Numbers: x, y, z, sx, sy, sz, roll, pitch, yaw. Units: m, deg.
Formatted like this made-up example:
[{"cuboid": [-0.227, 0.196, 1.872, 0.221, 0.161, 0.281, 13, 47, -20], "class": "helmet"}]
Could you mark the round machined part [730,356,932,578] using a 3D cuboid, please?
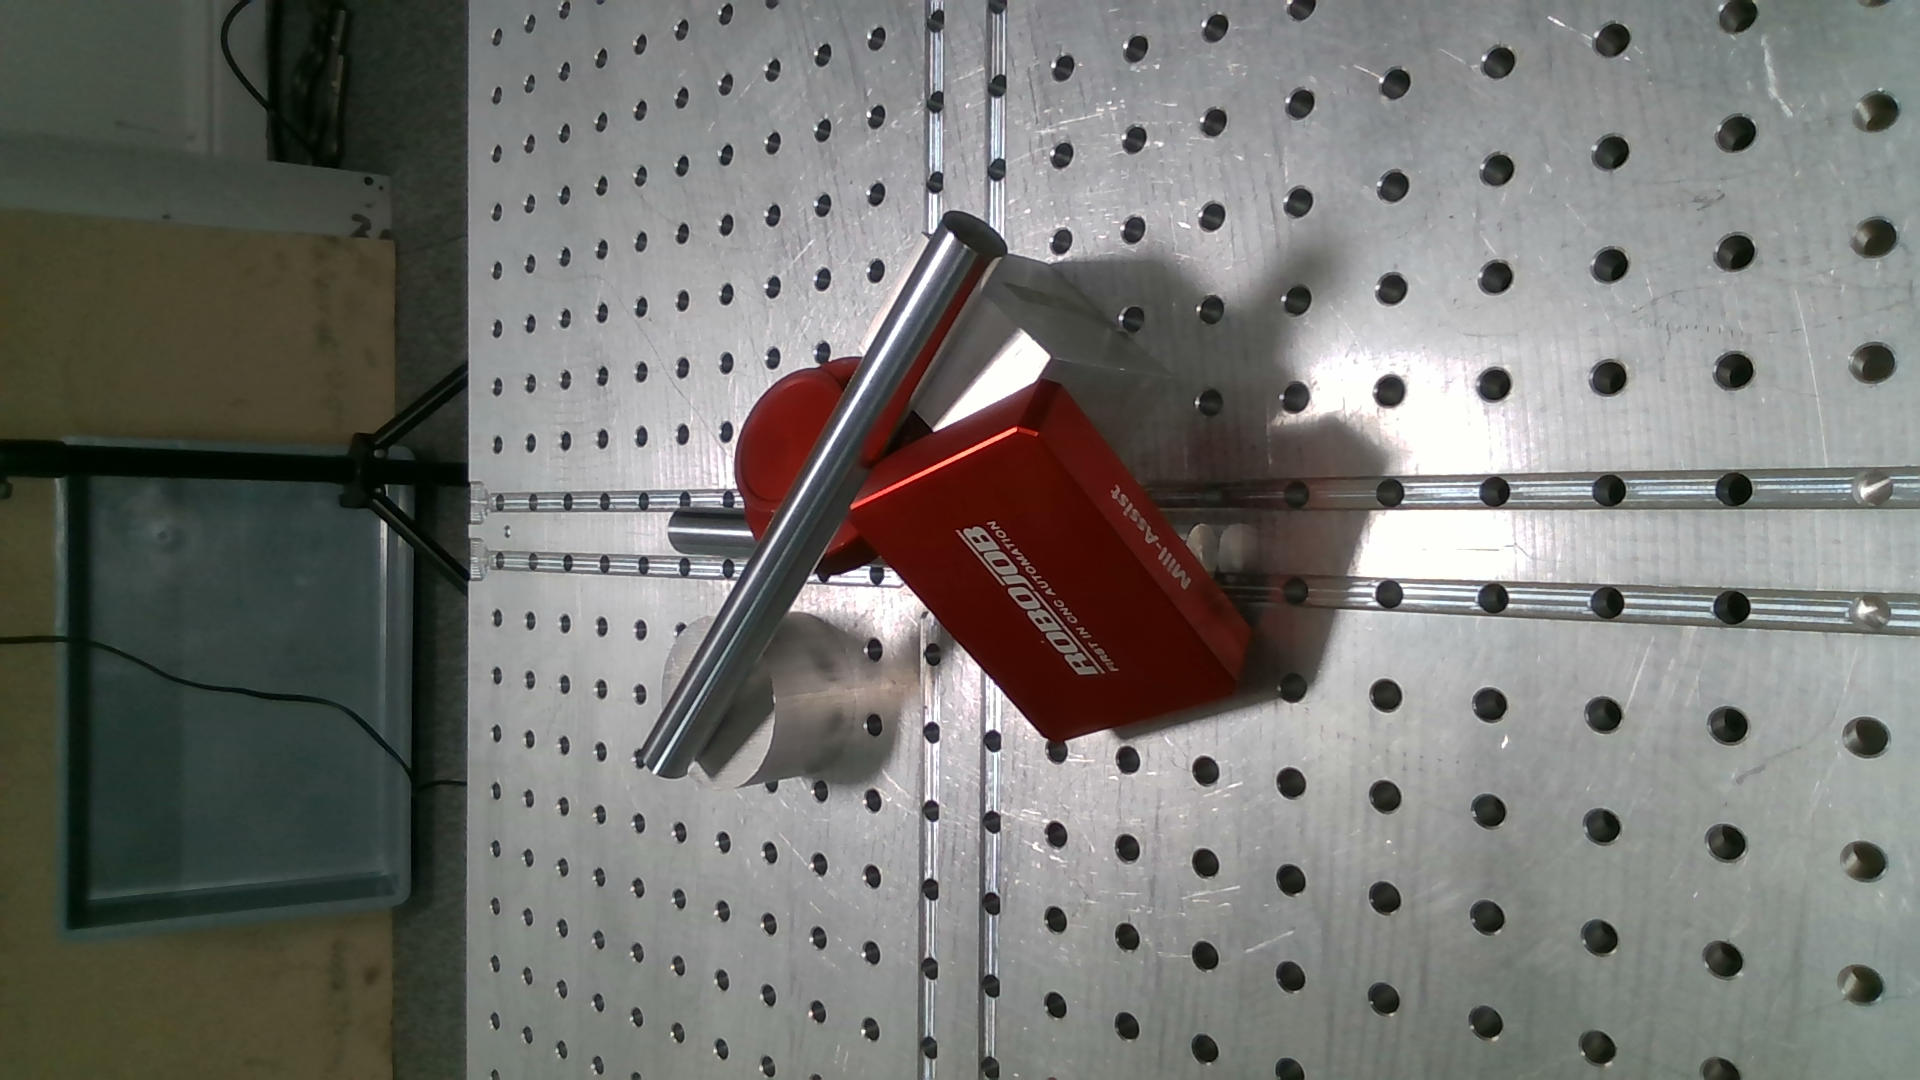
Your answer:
[{"cuboid": [-0.063, -0.036, 0.606, 0.098, 0.042, 0.098, -16, 63, 35], "class": "round machined part"}]

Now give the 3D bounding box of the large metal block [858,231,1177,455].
[{"cuboid": [0.022, -0.069, 0.531, 0.080, 0.080, 0.050, 49, 119, 29], "class": "large metal block"}]

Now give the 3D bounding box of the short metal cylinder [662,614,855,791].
[{"cuboid": [-0.096, 0.075, 0.651, 0.080, 0.050, 0.080, 0, 91, 40], "class": "short metal cylinder"}]

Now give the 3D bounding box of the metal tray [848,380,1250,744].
[{"cuboid": [0.033, 0.013, 0.502, 0.090, 0.030, 0.130, -23, 118, 38], "class": "metal tray"}]

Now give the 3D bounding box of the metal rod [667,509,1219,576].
[{"cuboid": [-0.025, 0.001, 0.606, 0.300, 0.025, 0.025, 3, 92, 40], "class": "metal rod"}]

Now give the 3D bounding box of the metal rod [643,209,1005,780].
[{"cuboid": [-0.065, -0.001, 0.548, 0.025, 0.025, 0.301, 54, 130, 26], "class": "metal rod"}]
